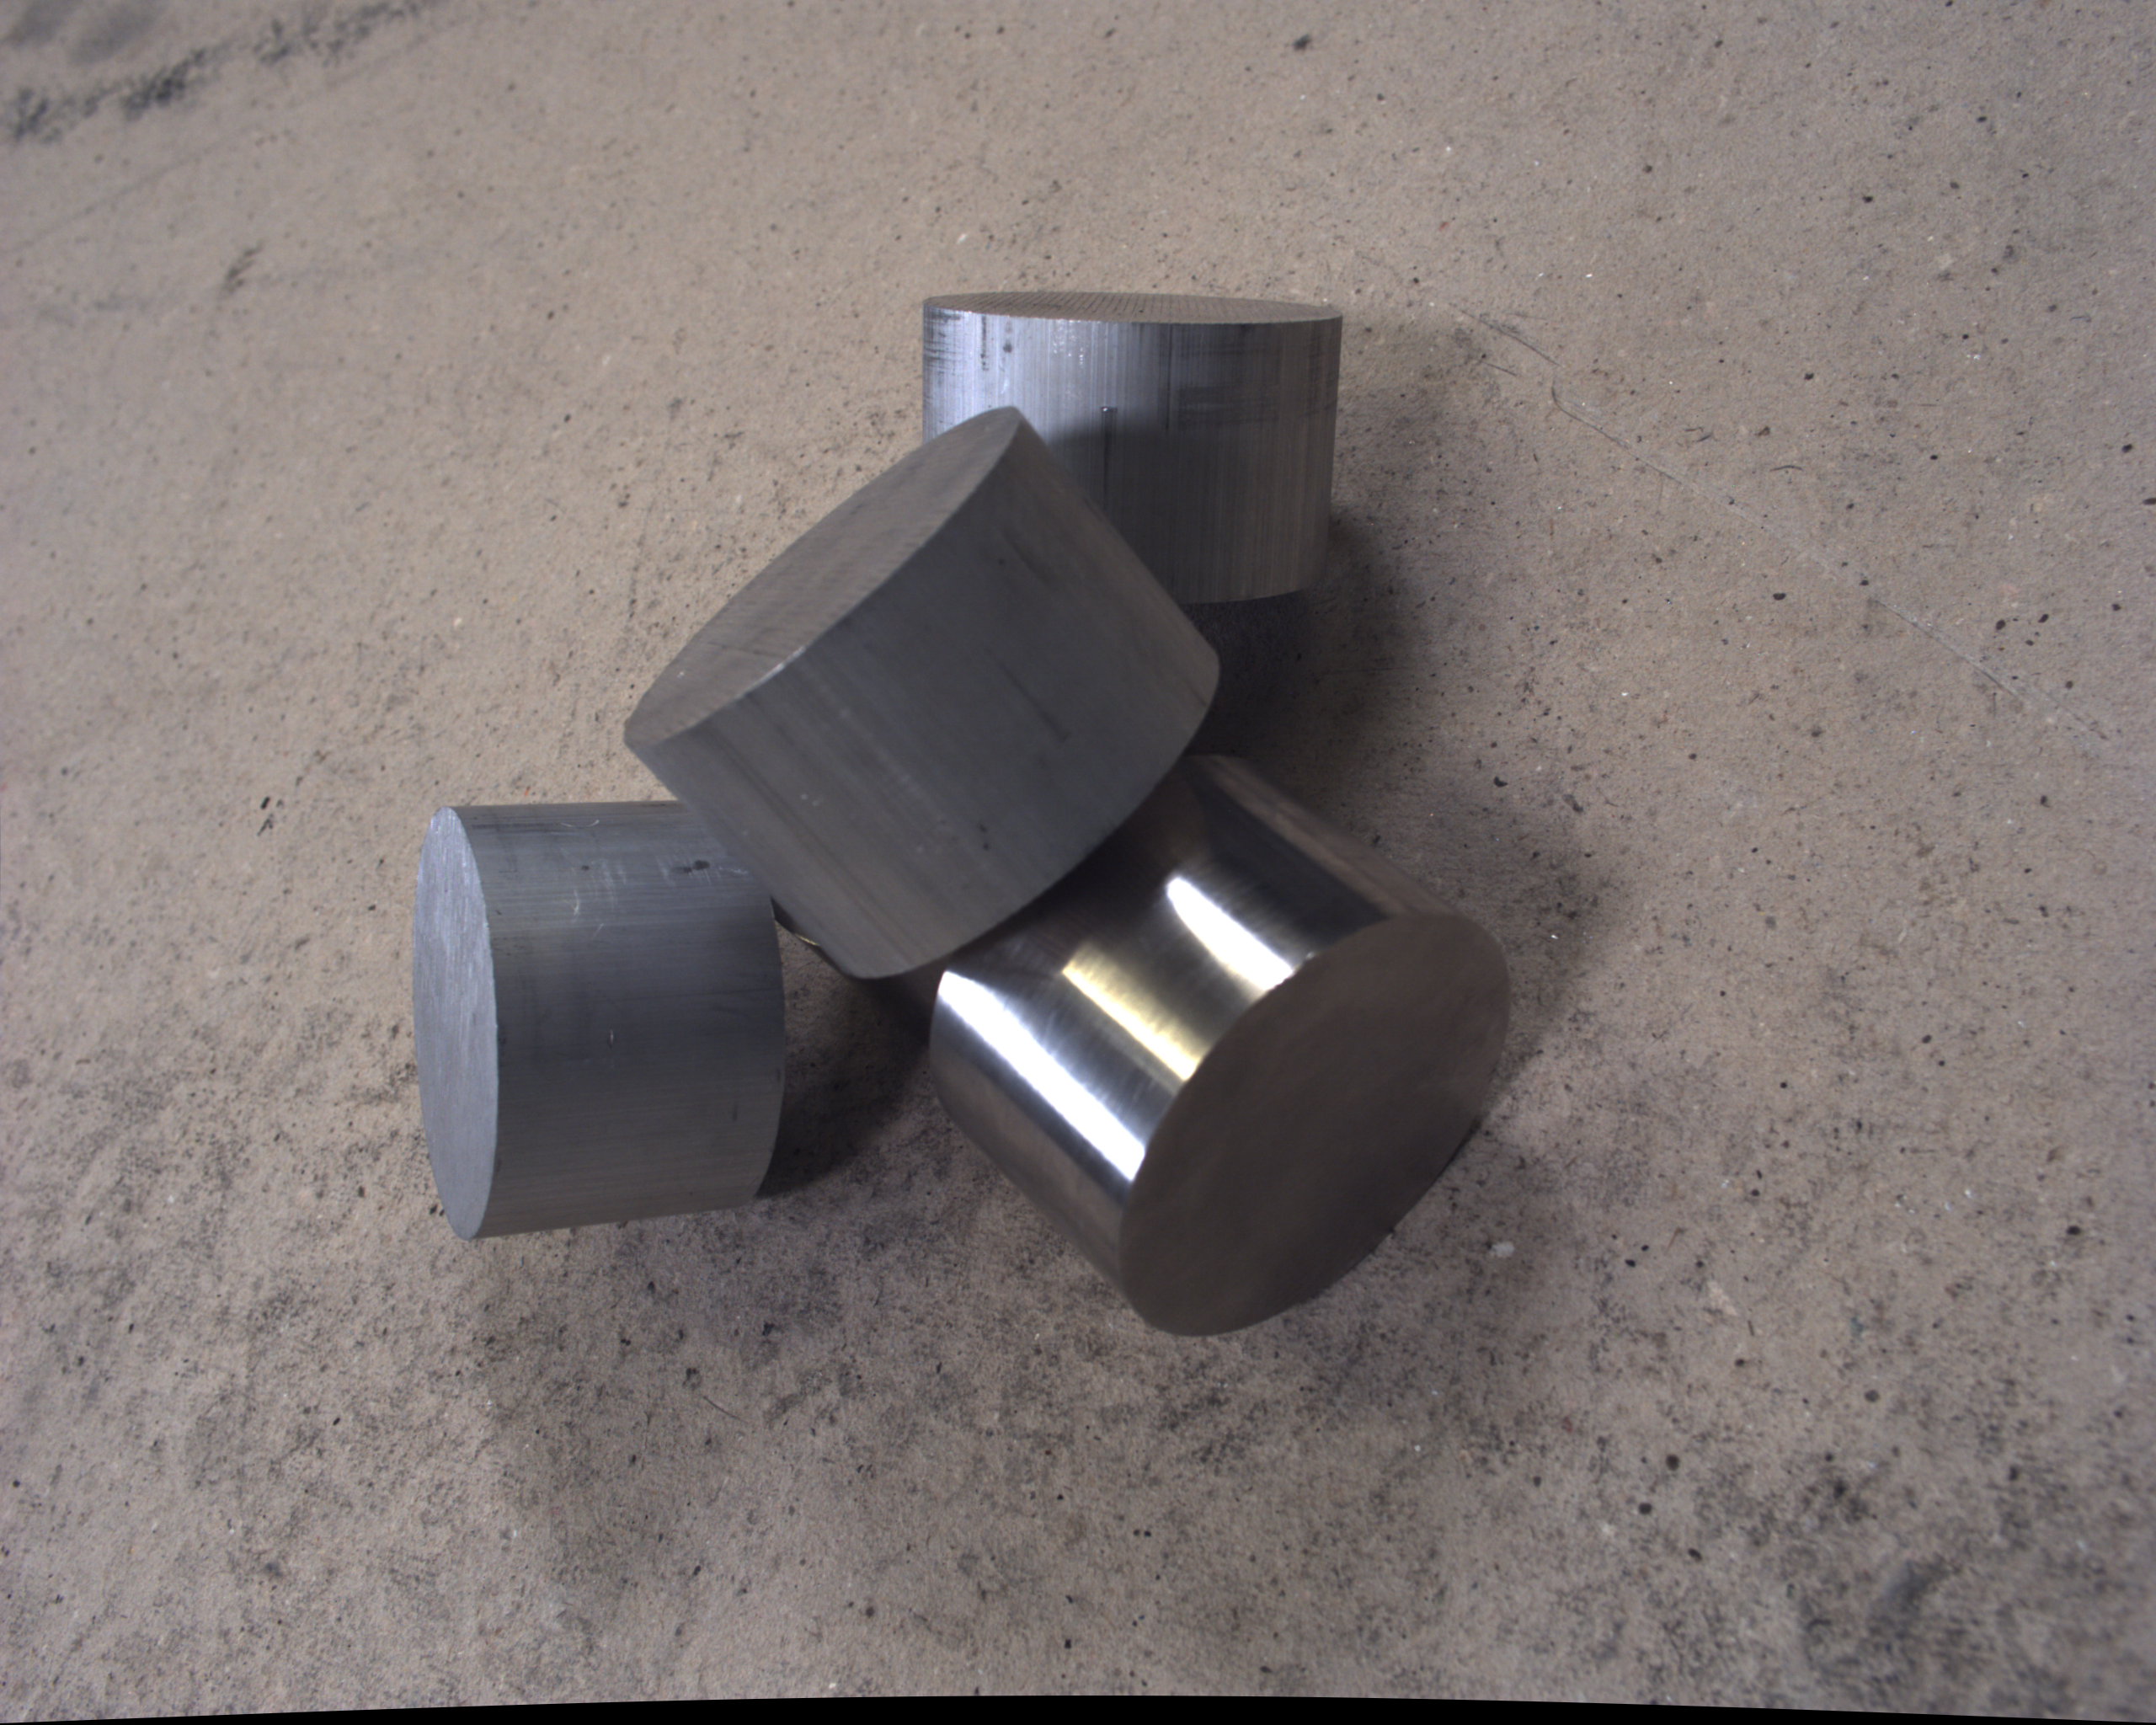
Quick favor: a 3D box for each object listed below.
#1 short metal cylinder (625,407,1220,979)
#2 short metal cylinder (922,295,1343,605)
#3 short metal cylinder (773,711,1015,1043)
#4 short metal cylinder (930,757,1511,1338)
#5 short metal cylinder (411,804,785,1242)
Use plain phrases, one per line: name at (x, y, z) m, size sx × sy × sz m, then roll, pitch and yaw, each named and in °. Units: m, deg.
short metal cylinder at (-0.025, -0.027, 0.333) m, size 0.080 × 0.050 × 0.080 m, roll -35°, pitch 21°, yaw 16°
short metal cylinder at (0.010, -0.083, 0.408) m, size 0.080 × 0.081 × 0.050 m, roll 15°, pitch 113°, yaw 34°
short metal cylinder at (-0.018, -0.007, 0.403) m, size 0.080 × 0.050 × 0.080 m, roll -13°, pitch 56°, yaw 20°
short metal cylinder at (0.023, 0.030, 0.339) m, size 0.080 × 0.080 × 0.050 m, roll -47°, pitch 51°, yaw -4°
short metal cylinder at (-0.093, 0.029, 0.394) m, size 0.080 × 0.050 × 0.079 m, roll 7°, pitch 97°, yaw 62°
